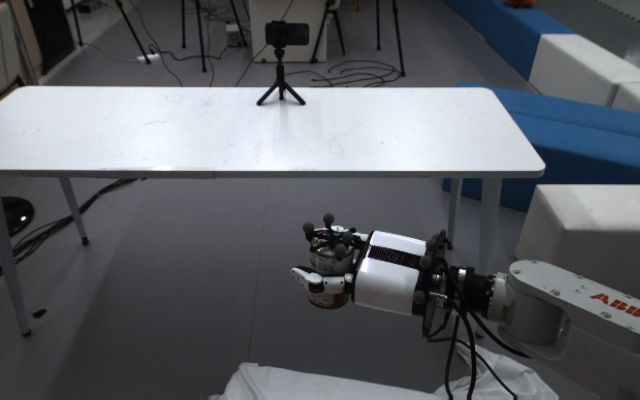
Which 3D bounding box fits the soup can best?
[{"bbox_3d":[0.017,0.107,0.734,0.067,0.101,0.067,3,30,-2],"label":"soup can"}]
